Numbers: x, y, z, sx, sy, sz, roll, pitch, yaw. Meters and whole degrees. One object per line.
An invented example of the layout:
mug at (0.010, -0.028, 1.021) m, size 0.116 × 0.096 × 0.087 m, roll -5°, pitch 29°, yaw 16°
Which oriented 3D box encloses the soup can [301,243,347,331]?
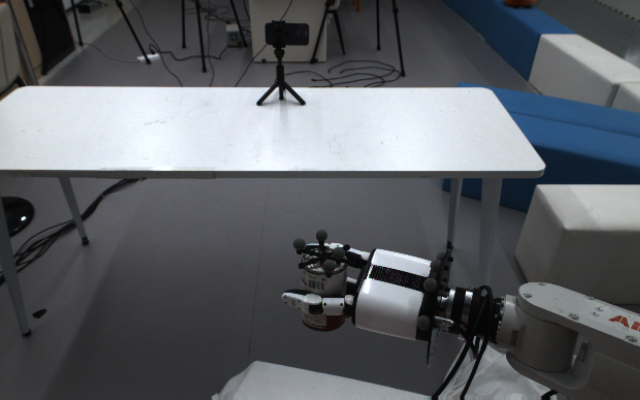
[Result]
soup can at (0.007, 0.130, 0.701) m, size 0.067 × 0.101 × 0.067 m, roll 1°, pitch 25°, yaw 0°
